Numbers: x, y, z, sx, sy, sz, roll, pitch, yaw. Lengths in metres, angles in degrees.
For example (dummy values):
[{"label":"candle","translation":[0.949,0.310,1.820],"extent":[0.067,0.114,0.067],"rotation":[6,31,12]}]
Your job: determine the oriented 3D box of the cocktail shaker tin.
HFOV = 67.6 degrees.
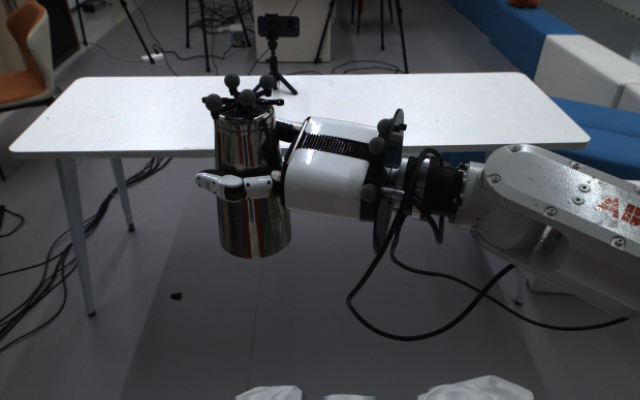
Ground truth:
[{"label":"cocktail shaker tin","translation":[-0.079,-0.027,0.567],"extent":[0.093,0.170,0.093],"rotation":[0,33,0]}]
